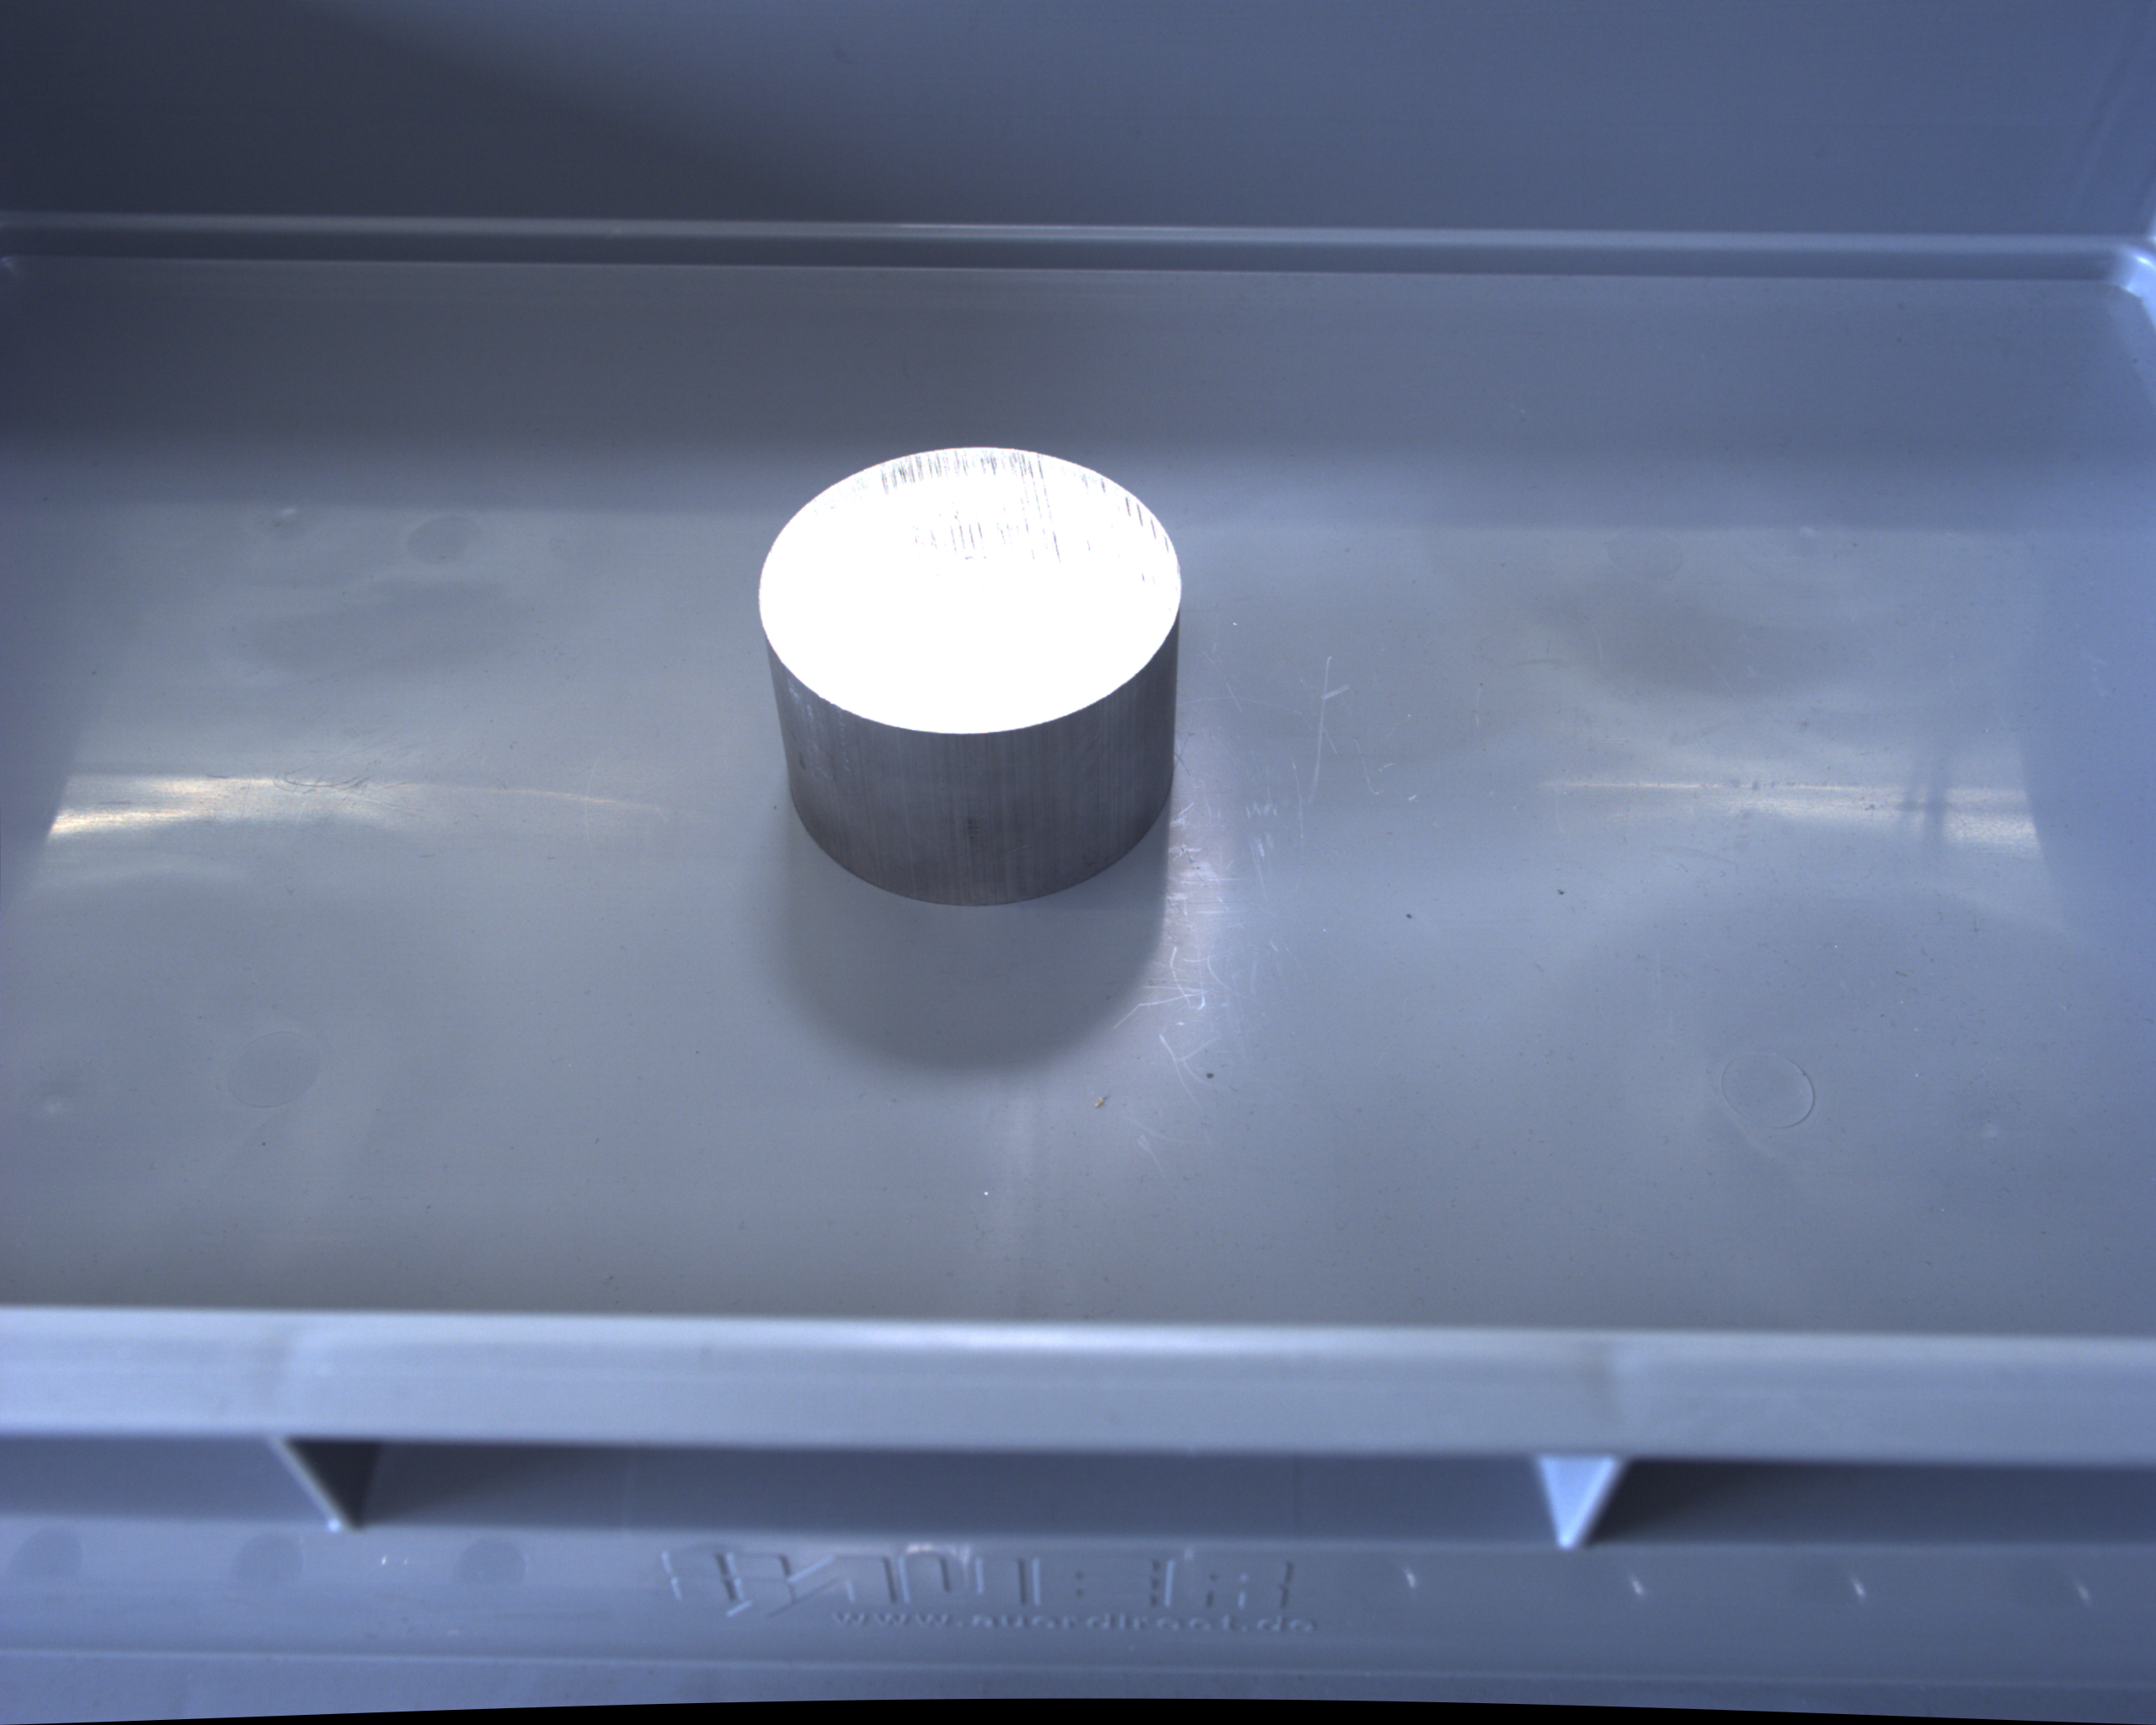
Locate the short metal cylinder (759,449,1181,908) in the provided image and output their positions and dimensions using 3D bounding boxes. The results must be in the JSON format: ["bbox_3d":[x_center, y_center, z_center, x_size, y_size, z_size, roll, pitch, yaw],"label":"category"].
[{"bbox_3d":[-0.020,-0.037,0.418,0.080,0.050,0.080,0,50,0],"label":"short metal cylinder"}]
